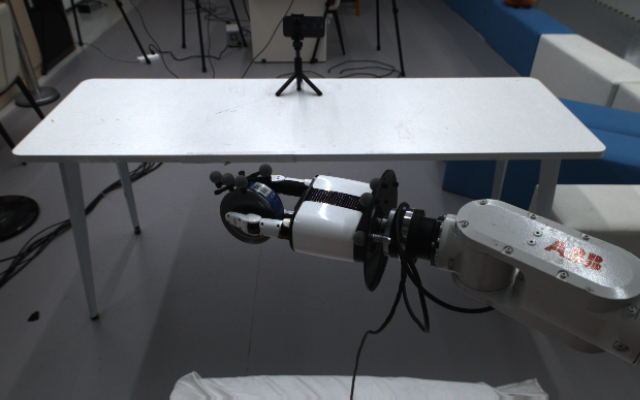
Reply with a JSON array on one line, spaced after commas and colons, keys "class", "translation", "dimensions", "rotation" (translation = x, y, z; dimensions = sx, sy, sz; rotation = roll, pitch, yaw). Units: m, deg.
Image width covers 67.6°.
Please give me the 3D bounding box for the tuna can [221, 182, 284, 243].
[{"class": "tuna can", "translation": [-0.089, 0.018, 0.680], "dimensions": [0.085, 0.085, 0.034], "rotation": [13, 29, 15]}]
